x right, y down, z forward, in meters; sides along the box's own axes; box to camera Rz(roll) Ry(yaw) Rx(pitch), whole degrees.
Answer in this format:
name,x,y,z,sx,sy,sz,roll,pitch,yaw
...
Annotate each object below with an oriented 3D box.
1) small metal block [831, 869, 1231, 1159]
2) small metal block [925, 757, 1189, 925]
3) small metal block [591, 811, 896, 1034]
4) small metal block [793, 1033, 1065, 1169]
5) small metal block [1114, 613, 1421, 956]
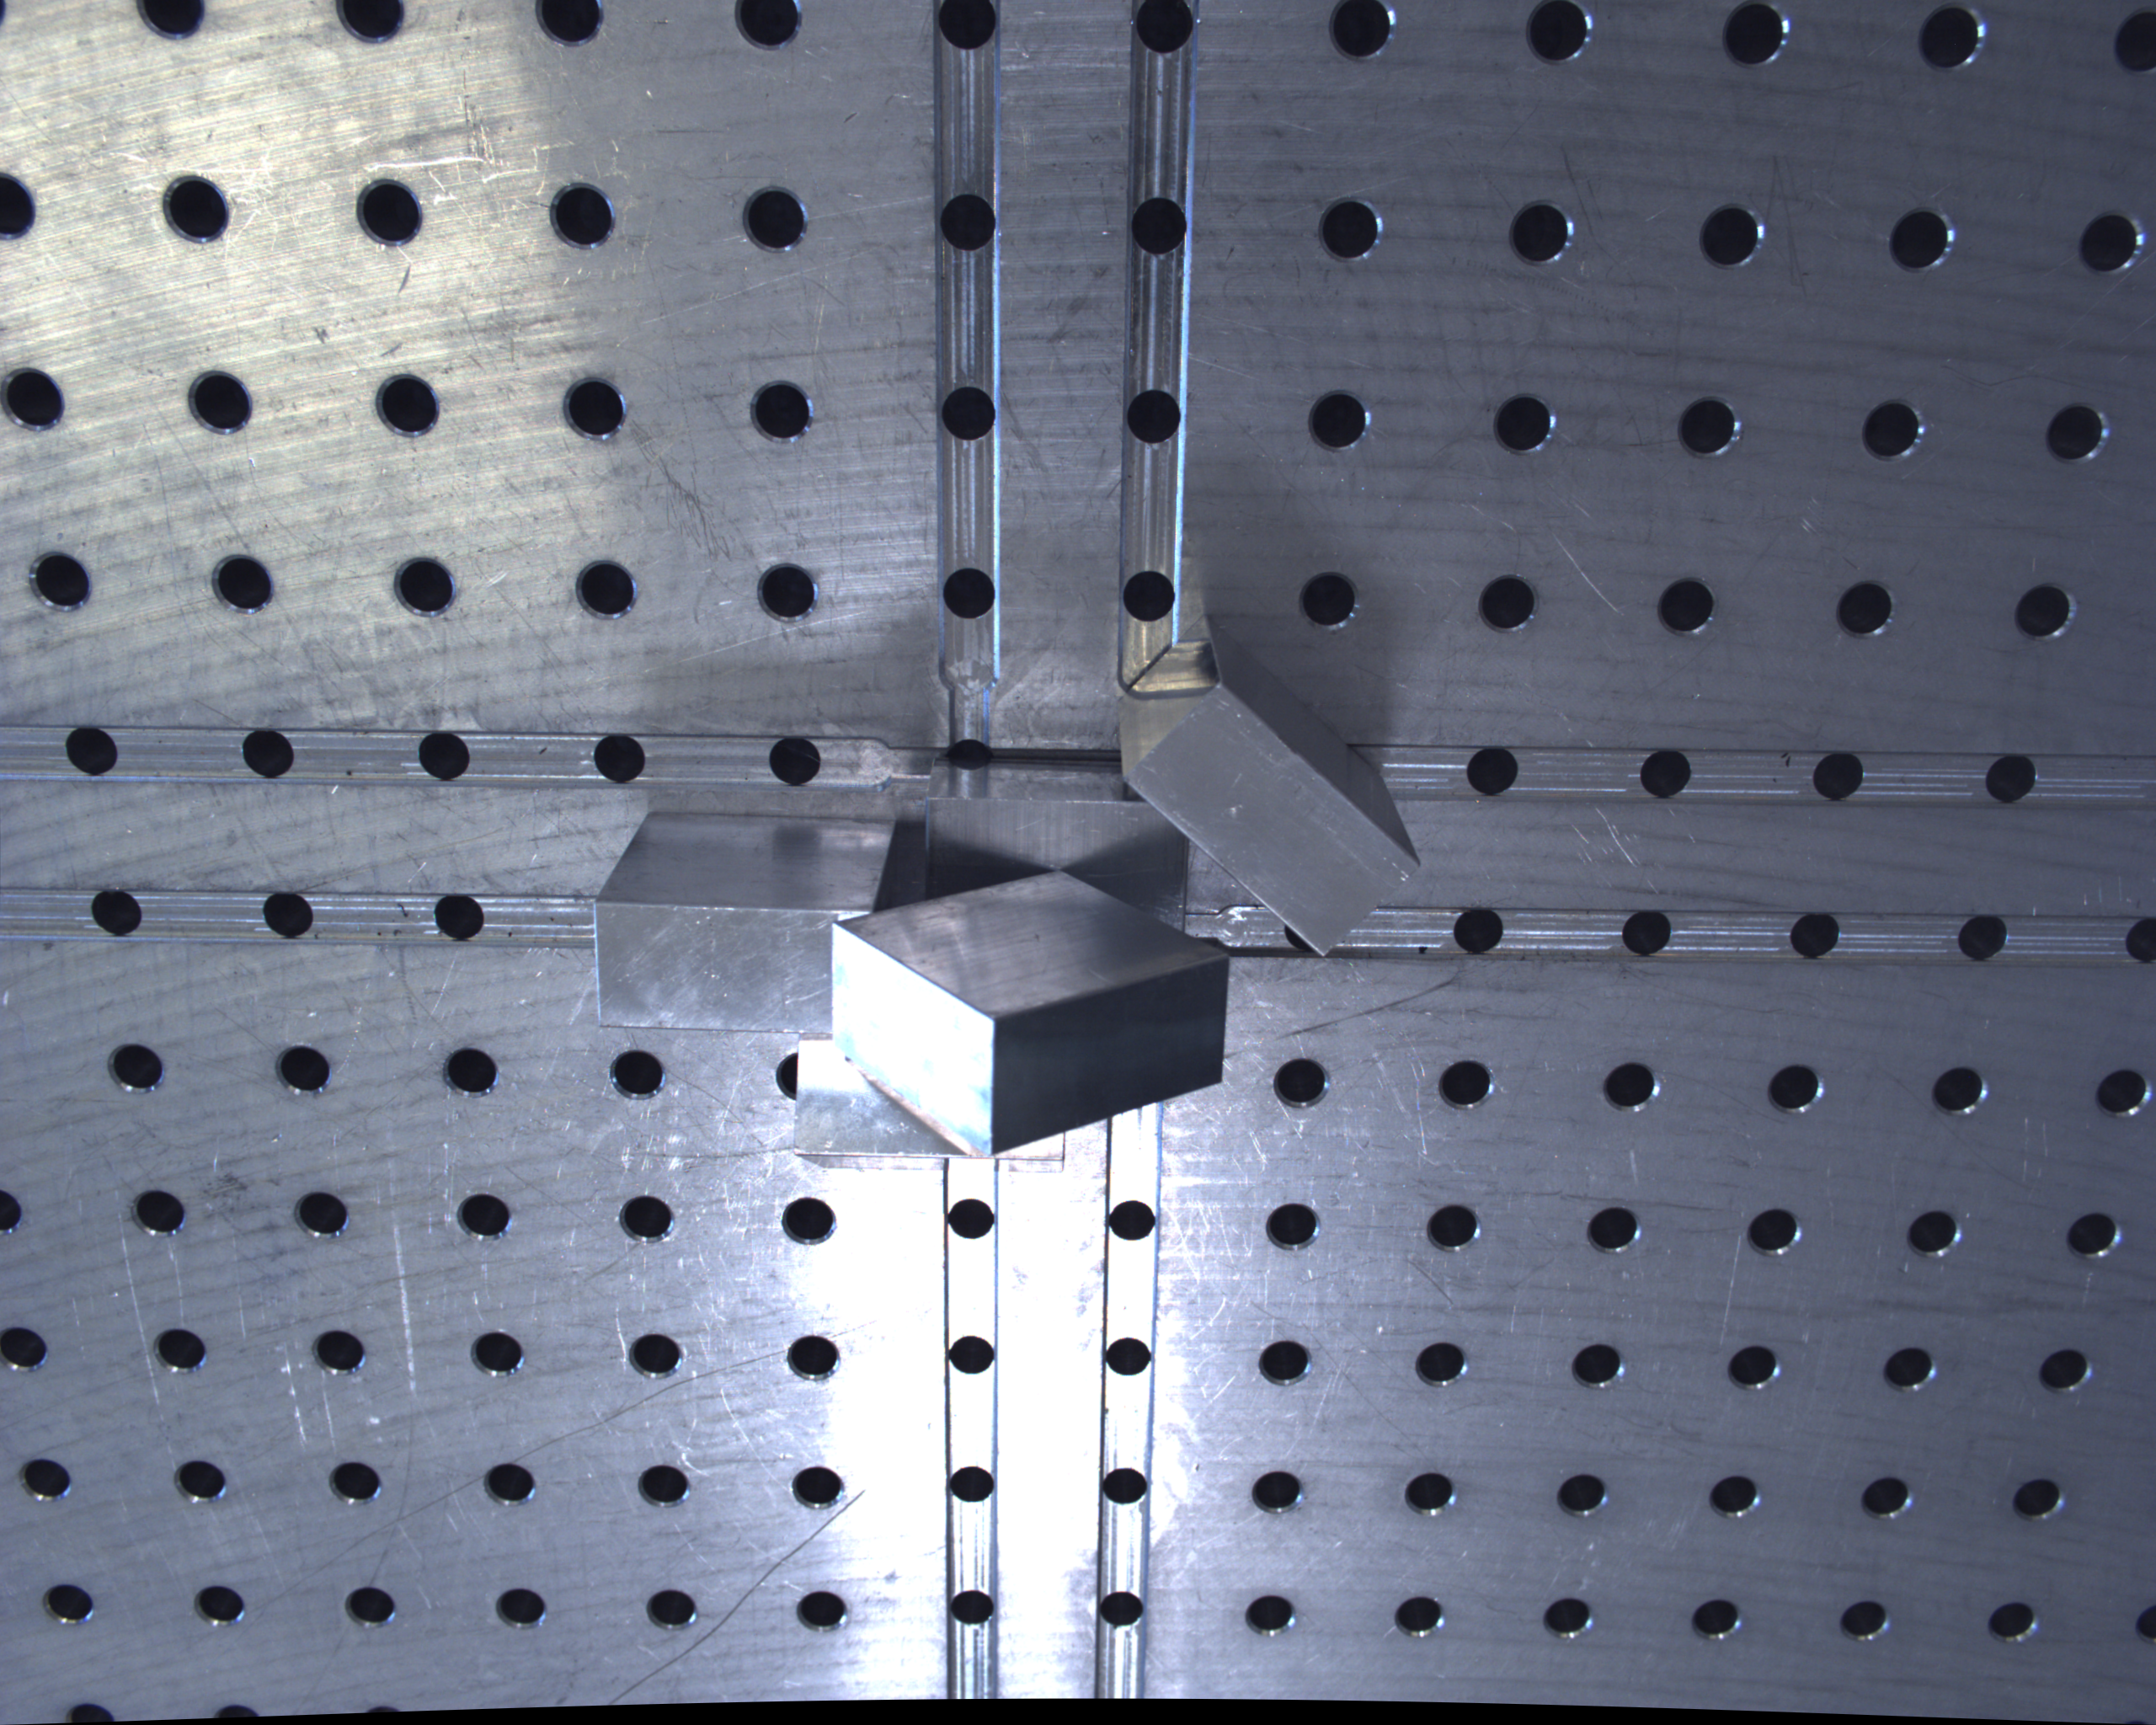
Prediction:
name,x,y,z,sx,sy,sz,roll,pitch,yaw
small metal block,-0.009,0.025,0.372,0.050,0.050,0.025,-13,115,-35
small metal block,-0.005,0.007,0.416,0.050,0.025,0.050,1,110,-2
small metal block,-0.062,0.011,0.403,0.050,0.050,0.025,2,111,0
small metal block,-0.028,0.047,0.415,0.050,0.050,0.025,1,79,0
small metal block,0.034,-0.016,0.394,0.050,0.050,0.025,41,104,-14
